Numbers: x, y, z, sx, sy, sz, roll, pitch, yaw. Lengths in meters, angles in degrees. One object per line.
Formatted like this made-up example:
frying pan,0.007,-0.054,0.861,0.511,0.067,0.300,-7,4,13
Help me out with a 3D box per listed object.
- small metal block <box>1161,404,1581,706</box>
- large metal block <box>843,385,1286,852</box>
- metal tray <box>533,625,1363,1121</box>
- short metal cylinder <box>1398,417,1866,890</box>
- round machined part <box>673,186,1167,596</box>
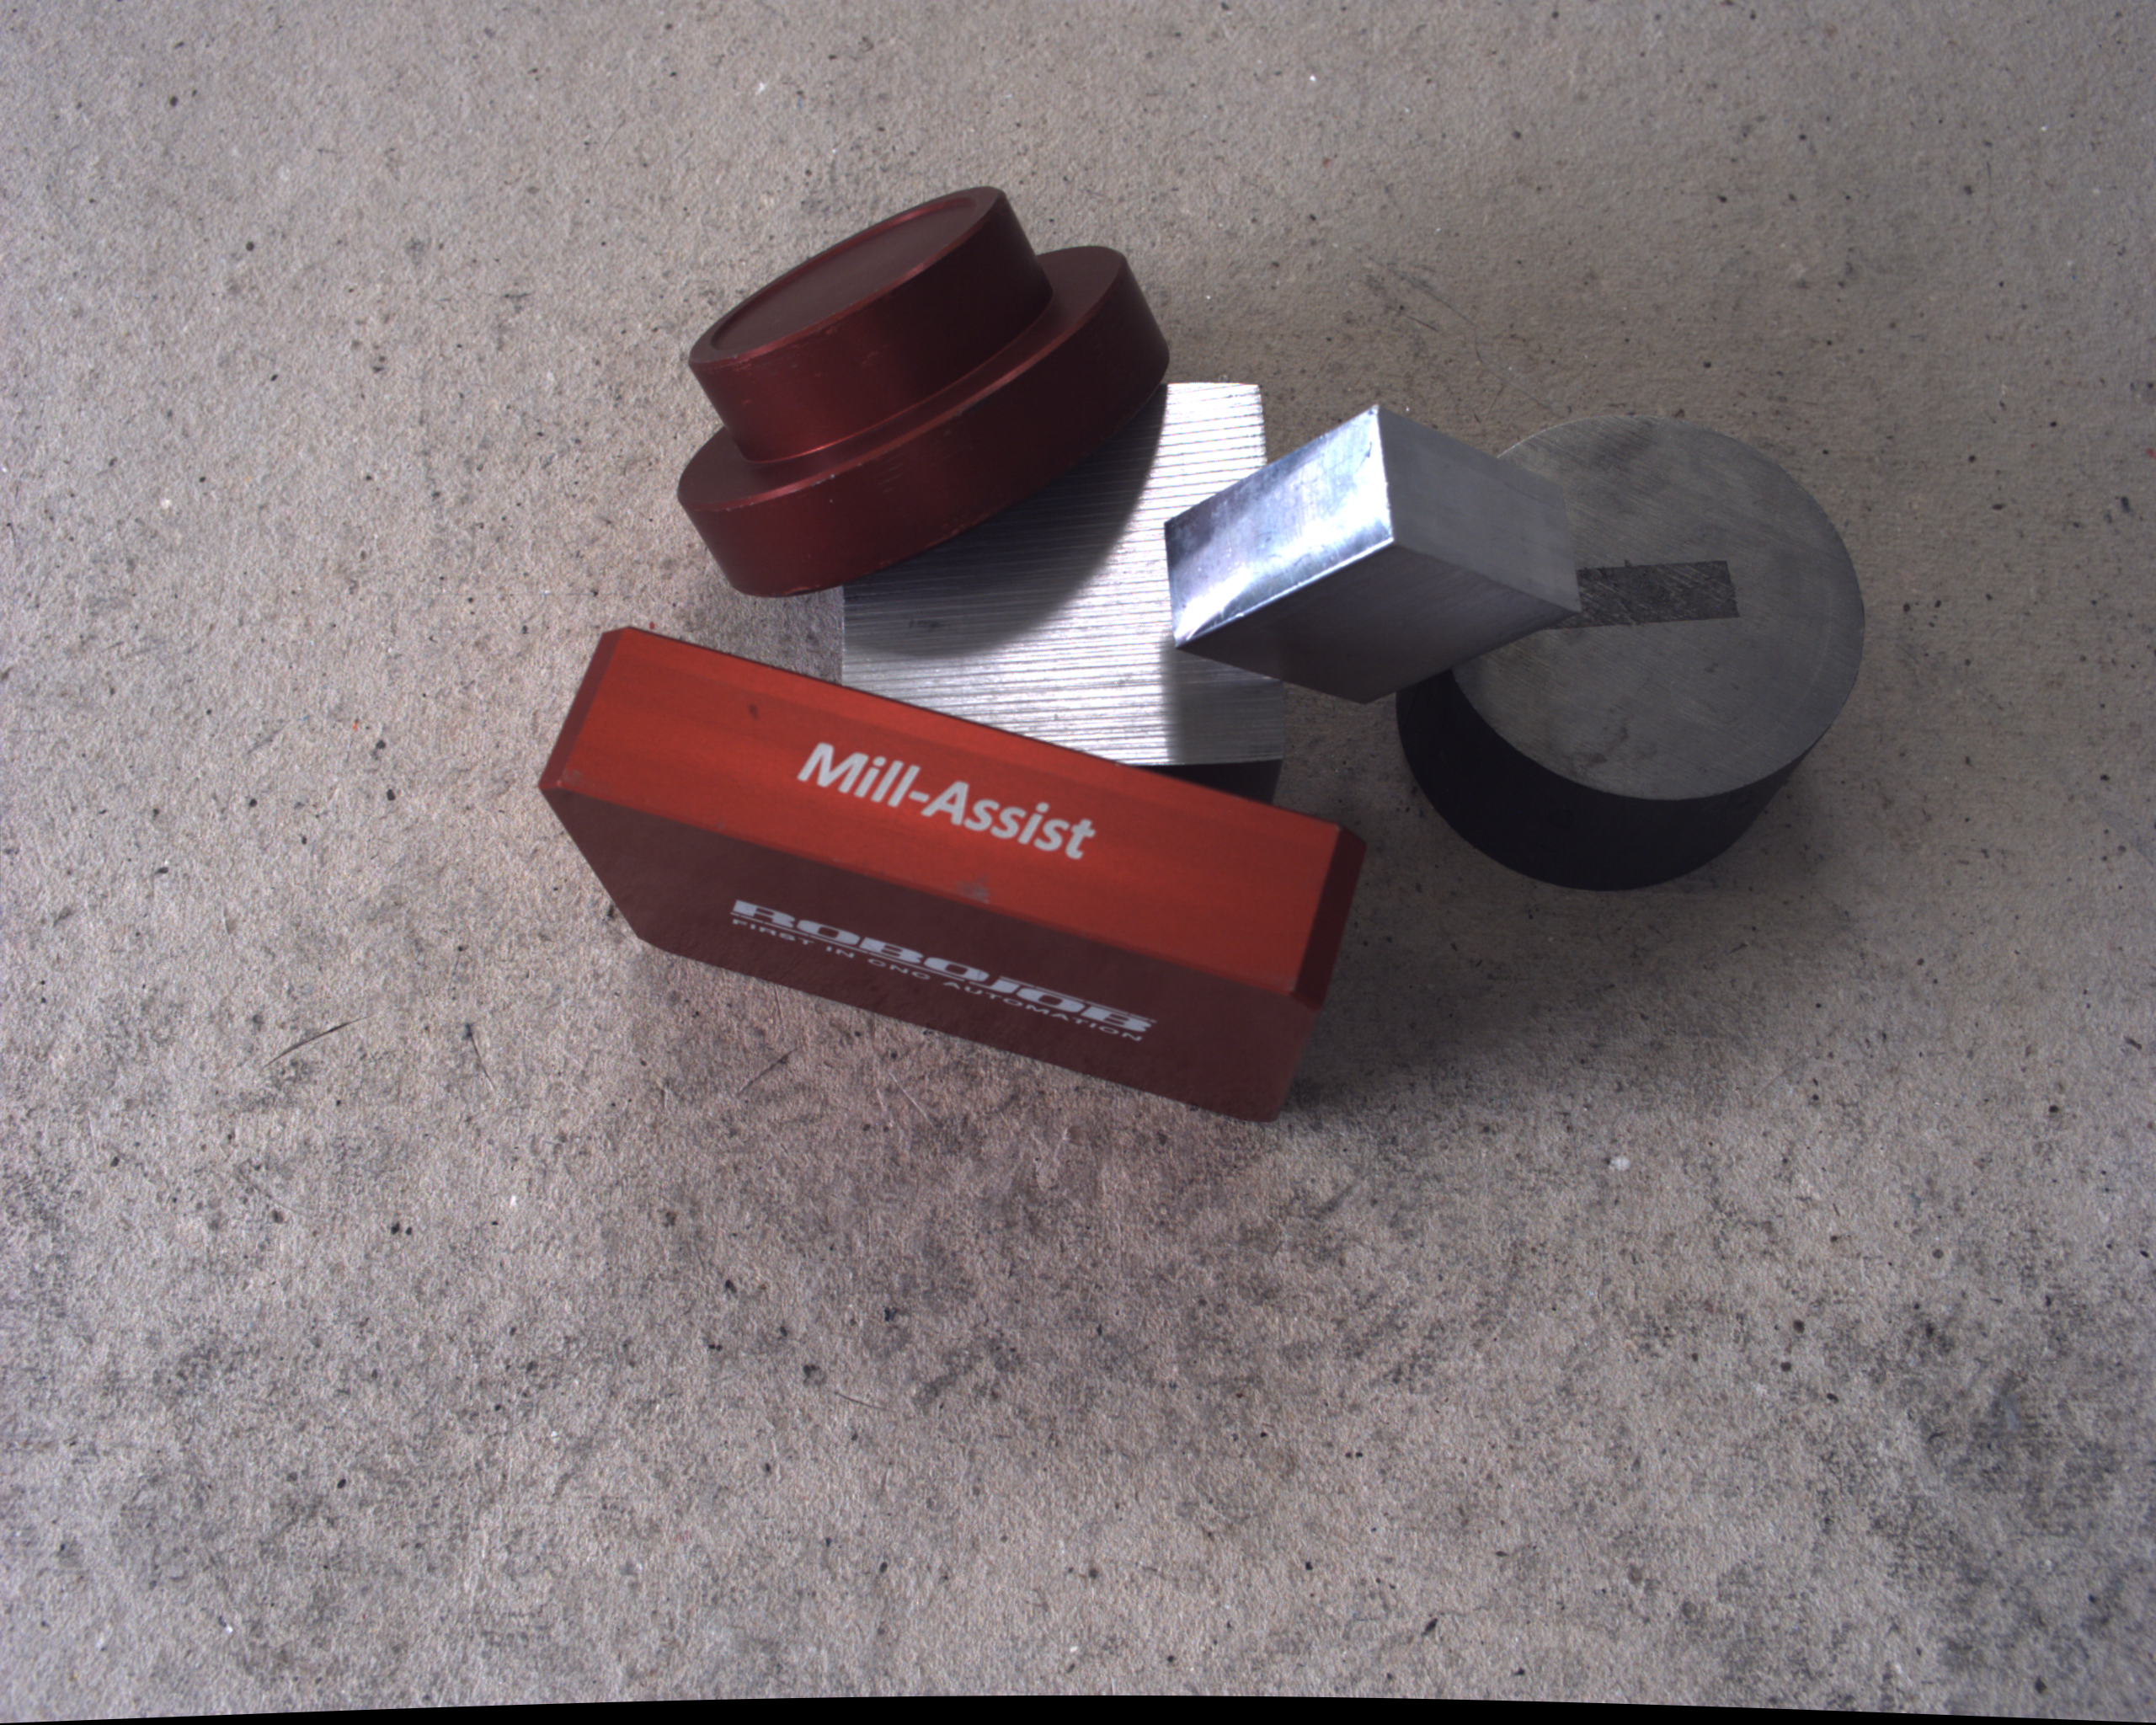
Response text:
small metal block,0.051,-0.052,0.367,0.050,0.050,0.025,11,67,-41
large metal block,-0.004,-0.046,0.414,0.081,0.050,0.080,-1,70,-1
metal tray,-0.021,0.005,0.372,0.131,0.090,0.030,16,71,5
short metal cylinder,0.106,-0.040,0.412,0.081,0.050,0.080,0,70,0
round machined part,-0.036,-0.096,0.405,0.098,0.098,0.042,-35,118,-12
